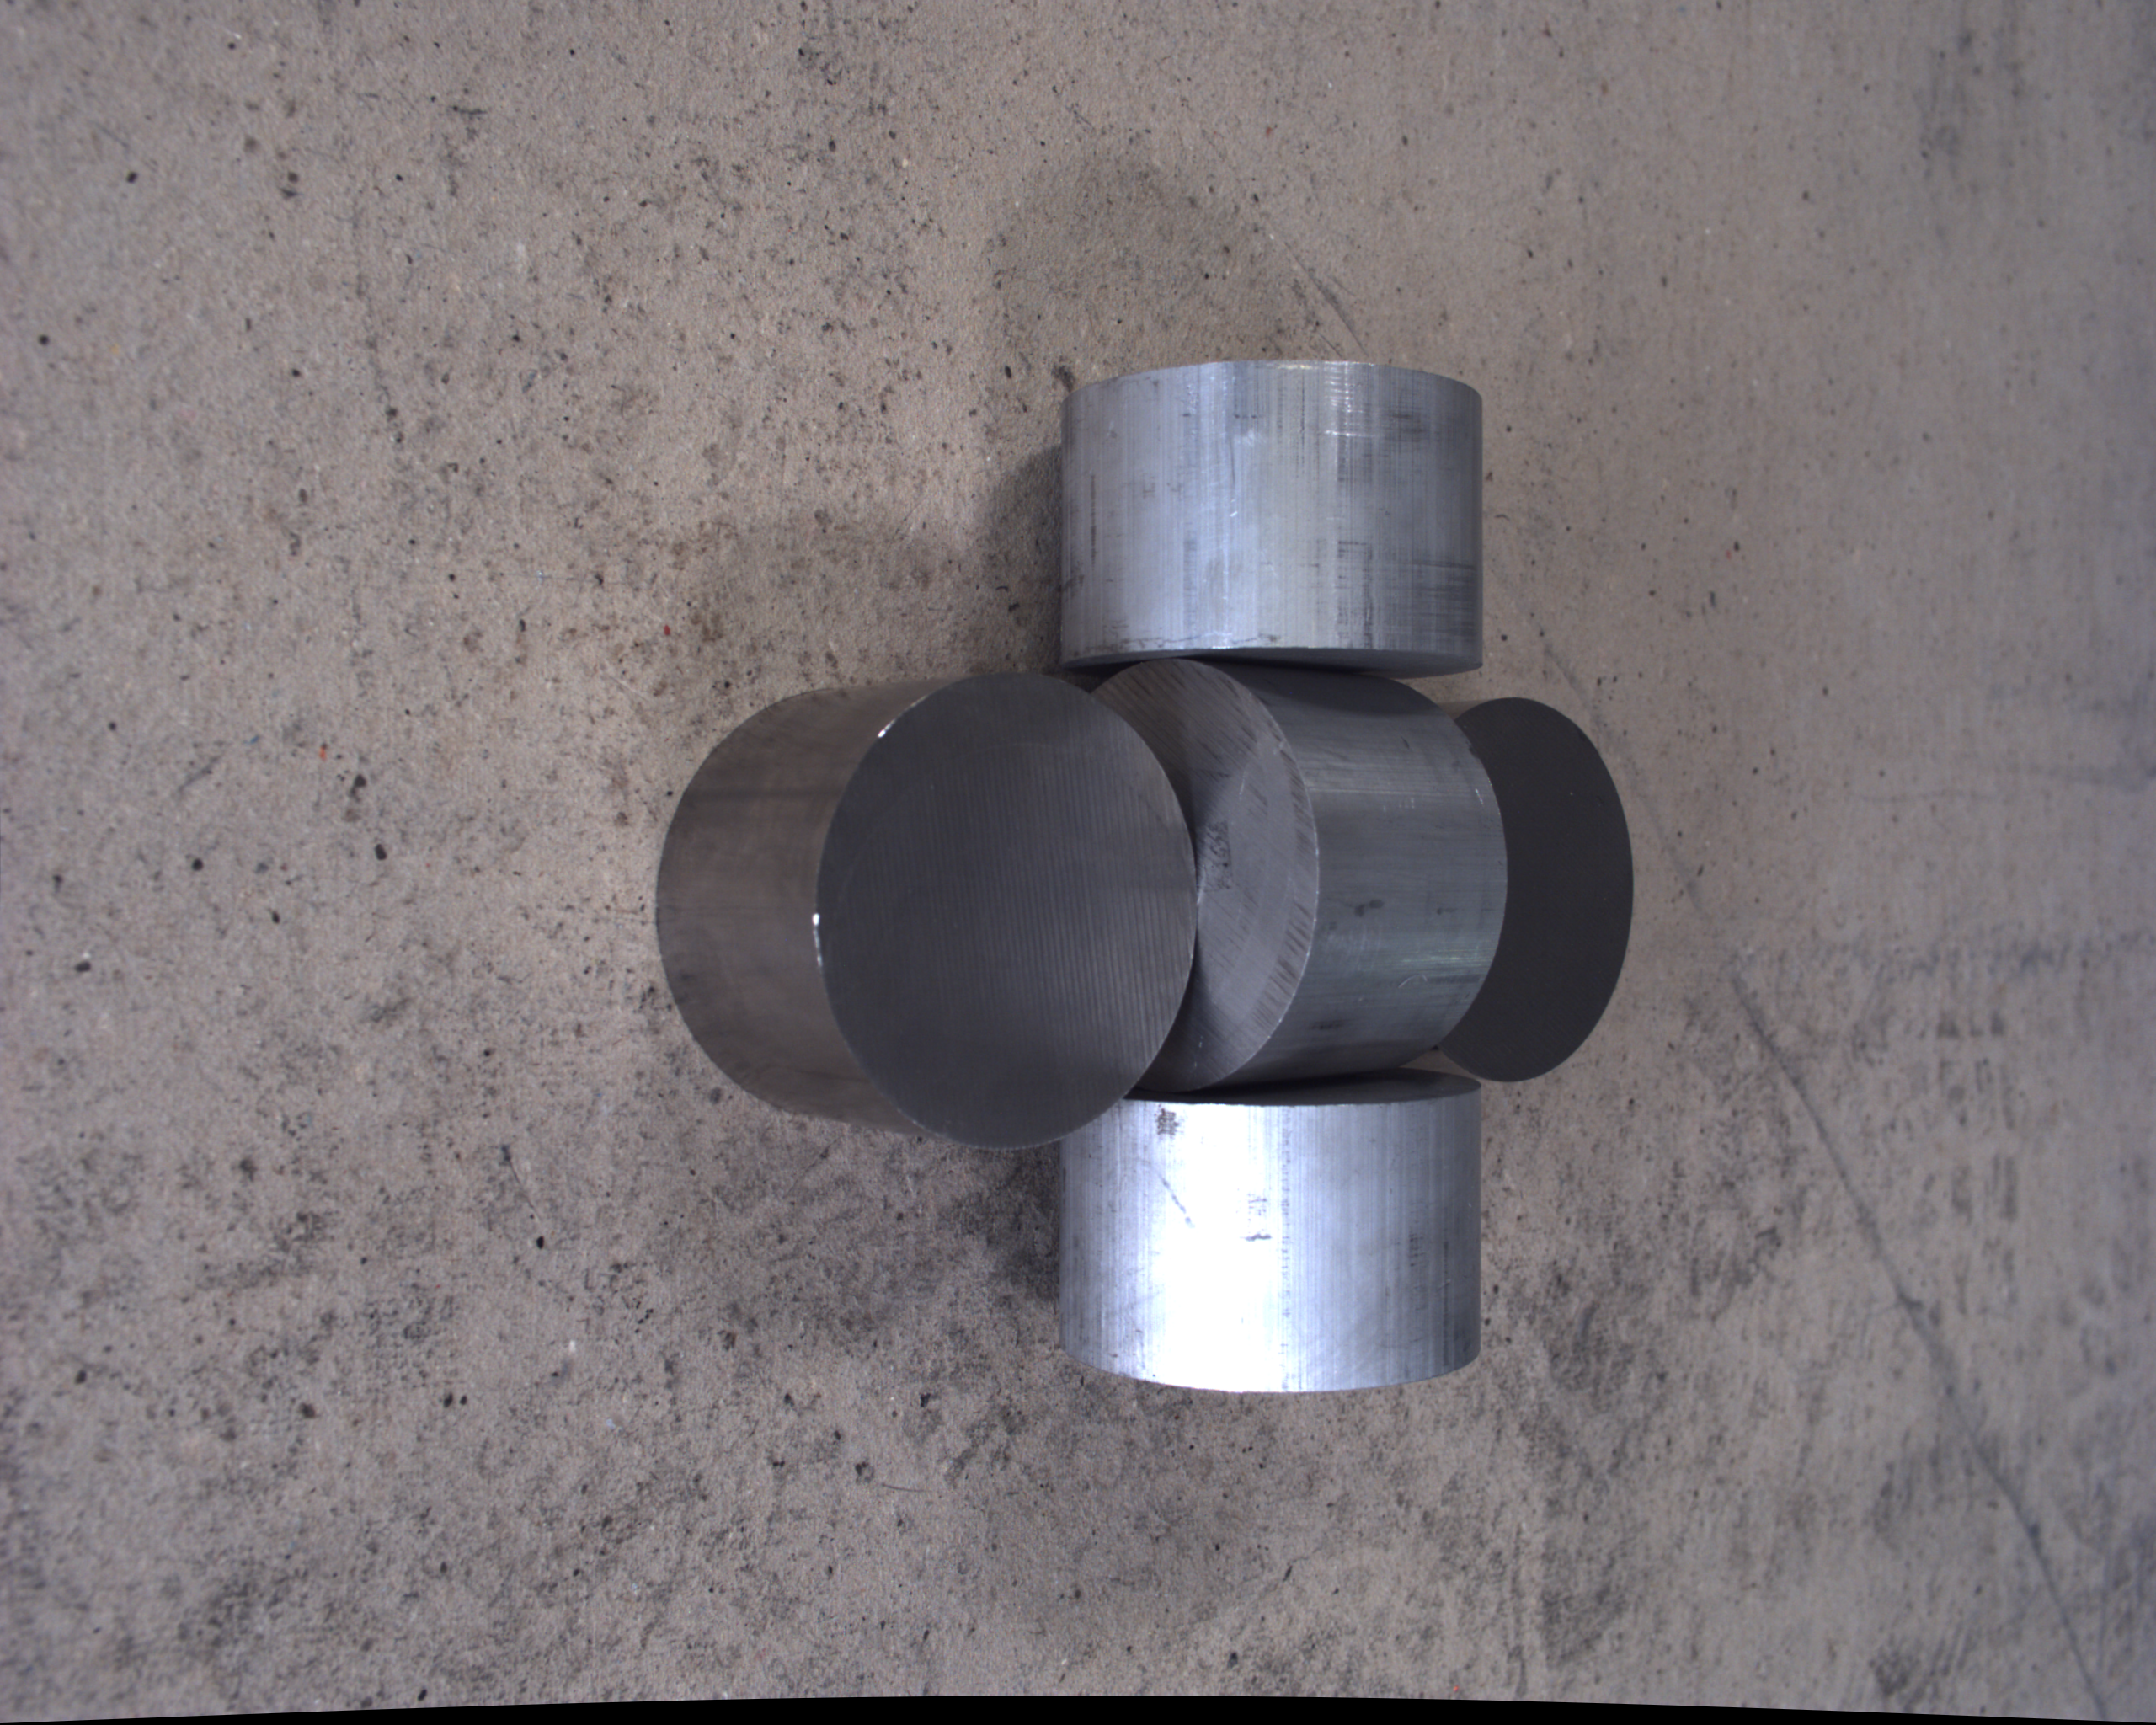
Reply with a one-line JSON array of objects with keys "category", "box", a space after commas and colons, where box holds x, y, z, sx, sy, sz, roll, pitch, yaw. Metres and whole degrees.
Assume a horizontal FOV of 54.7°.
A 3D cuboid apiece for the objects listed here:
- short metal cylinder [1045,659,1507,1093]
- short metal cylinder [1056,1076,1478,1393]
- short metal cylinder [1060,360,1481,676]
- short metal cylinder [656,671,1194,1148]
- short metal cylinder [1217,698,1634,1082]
[{"category": "short metal cylinder", "box": [0.034, 0.003, 0.399, 0.050, 0.080, 0.080, 1, 90, -40]}, {"category": "short metal cylinder", "box": [0.036, 0.067, 0.401, 0.081, 0.080, 0.050, 0, 90, -40]}, {"category": "short metal cylinder", "box": [0.037, -0.063, 0.402, 0.081, 0.080, 0.050, 0, 90, -40]}, {"category": "short metal cylinder", "box": [-0.026, 0.008, 0.368, 0.081, 0.050, 0.080, 0, 90, -41]}, {"category": "short metal cylinder", "box": [0.075, 0.005, 0.452, 0.081, 0.050, 0.080, -1, 91, -40]}]
